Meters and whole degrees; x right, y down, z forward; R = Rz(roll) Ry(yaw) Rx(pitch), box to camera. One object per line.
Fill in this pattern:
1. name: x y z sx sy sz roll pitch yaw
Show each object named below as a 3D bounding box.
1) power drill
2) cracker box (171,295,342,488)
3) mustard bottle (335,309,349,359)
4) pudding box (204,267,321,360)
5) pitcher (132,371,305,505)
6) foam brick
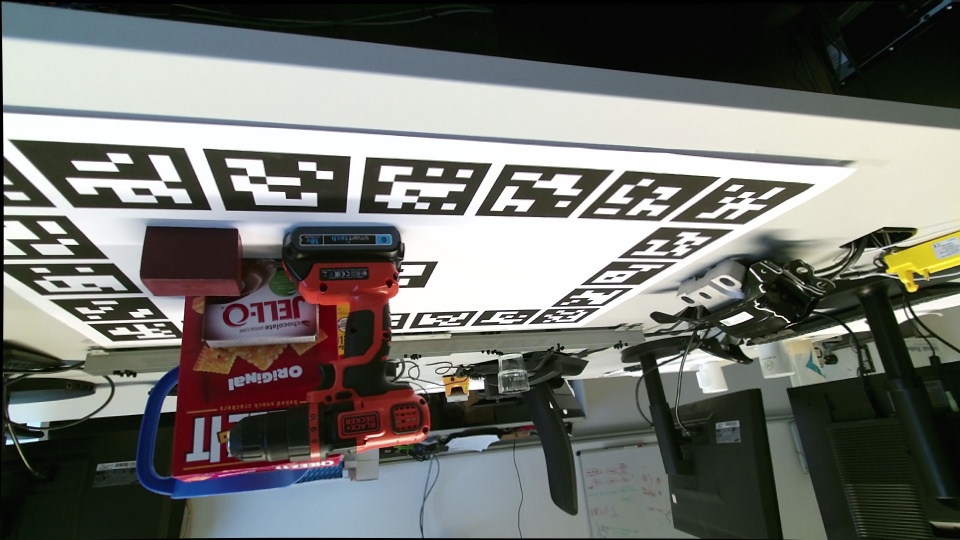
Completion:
1. power drill: -0.144 0.083 0.510 0.185 0.186 0.057 -1 160 -16
2. cracker box: -0.243 0.114 0.592 0.165 0.212 0.072 -4 160 -17
3. mustard bottle: -0.189 0.148 0.709 0.096 0.190 0.058 5 153 -30
4. pudding box: -0.230 0.046 0.571 0.114 0.089 0.039 -3 159 -19
5. pitcher: -0.315 0.160 0.665 0.189 0.241 0.133 0 157 -24
6. foam brick: -0.272 -0.009 0.510 0.078 0.051 0.053 0 155 -20
